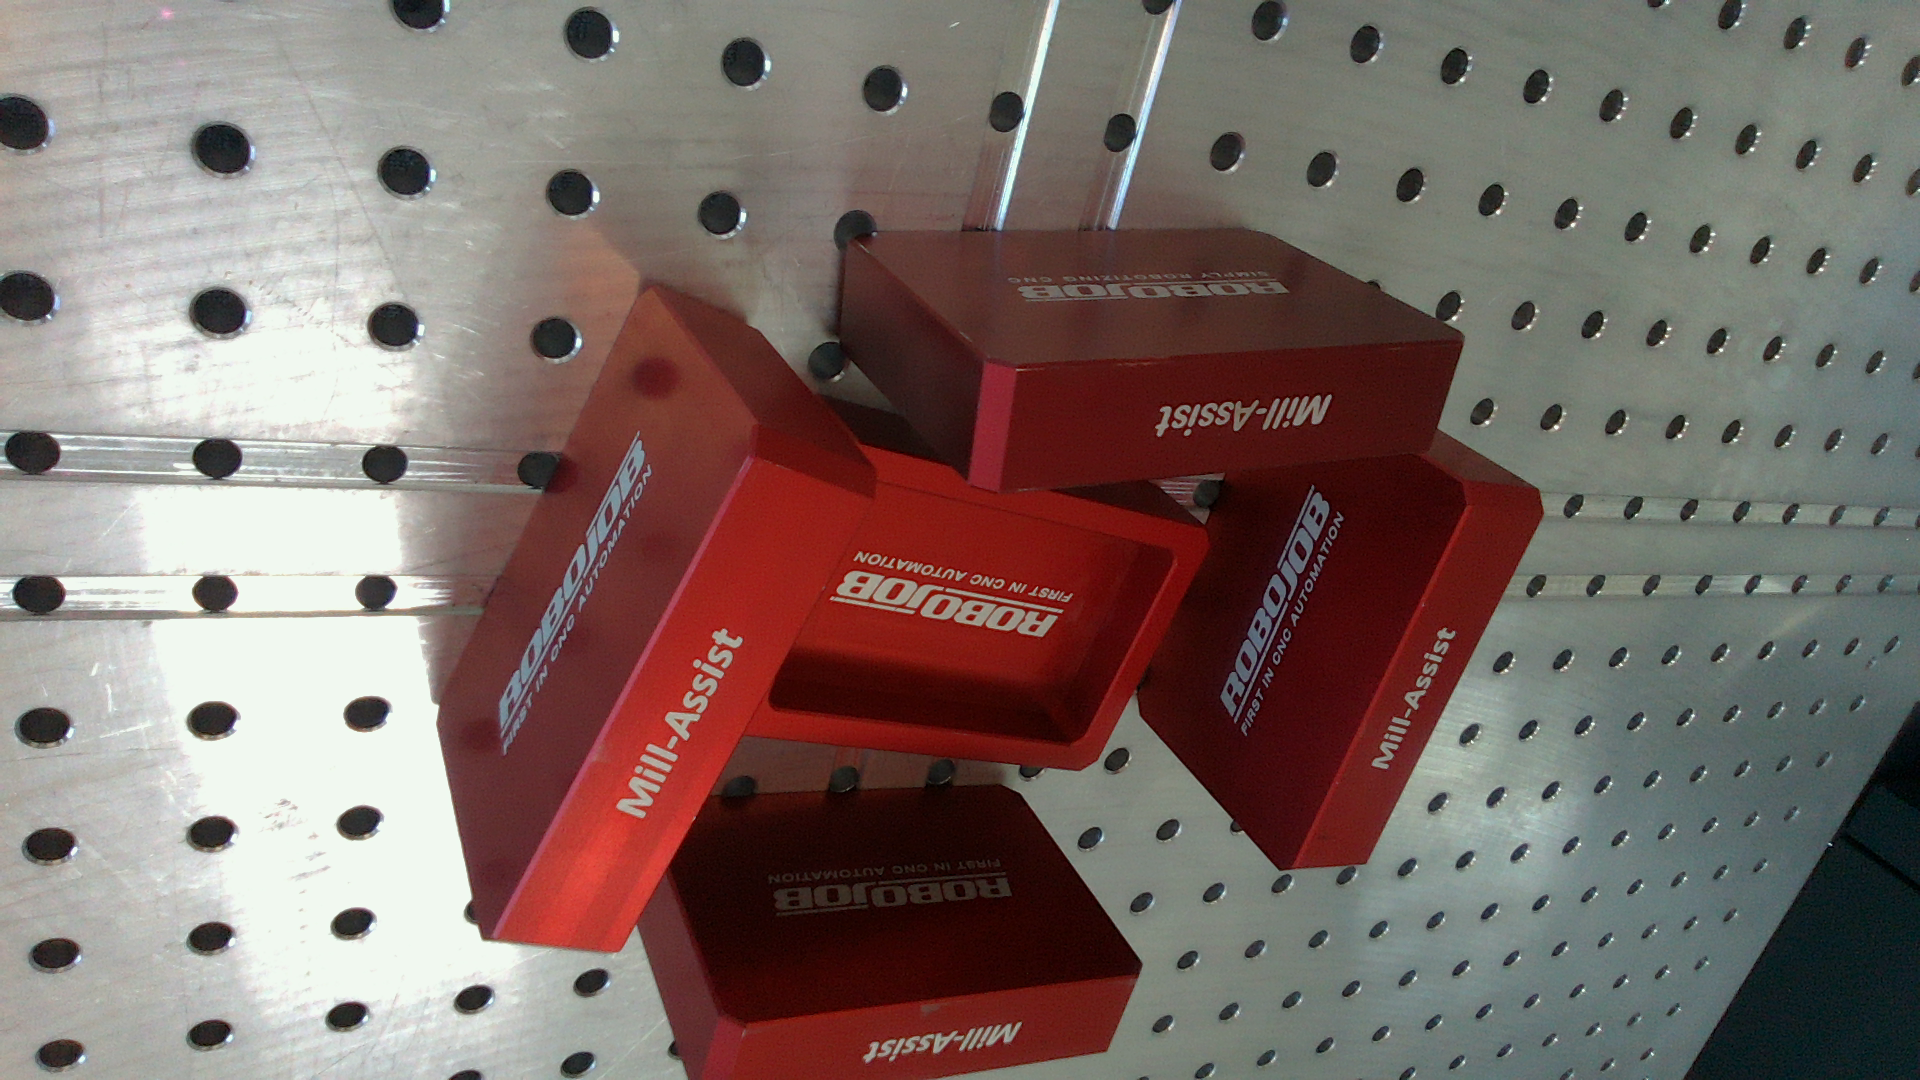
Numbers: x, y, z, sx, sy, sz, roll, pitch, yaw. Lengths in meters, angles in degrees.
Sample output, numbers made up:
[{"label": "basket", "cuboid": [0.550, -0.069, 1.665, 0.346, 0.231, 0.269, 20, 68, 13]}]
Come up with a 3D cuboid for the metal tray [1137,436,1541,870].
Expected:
[{"label": "metal tray", "cuboid": [0.110, 0.023, 0.424, 0.030, 0.090, 0.130, 4, 116, -30]}]

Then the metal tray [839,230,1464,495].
[{"label": "metal tray", "cuboid": [0.046, -0.049, 0.344, 0.130, 0.090, 0.030, -6, 121, -25]}]

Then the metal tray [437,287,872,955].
[{"label": "metal tray", "cuboid": [-0.077, 0.017, 0.319, 0.030, 0.090, 0.130, 20, 108, -35]}]

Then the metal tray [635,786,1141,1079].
[{"label": "metal tray", "cuboid": [-0.024, 0.114, 0.407, 0.130, 0.090, 0.030, 4, 117, -30]}]

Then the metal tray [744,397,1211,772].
[{"label": "metal tray", "cuboid": [0.000, 0.018, 0.399, 0.130, 0.030, 0.090, 12, 112, -33]}]
